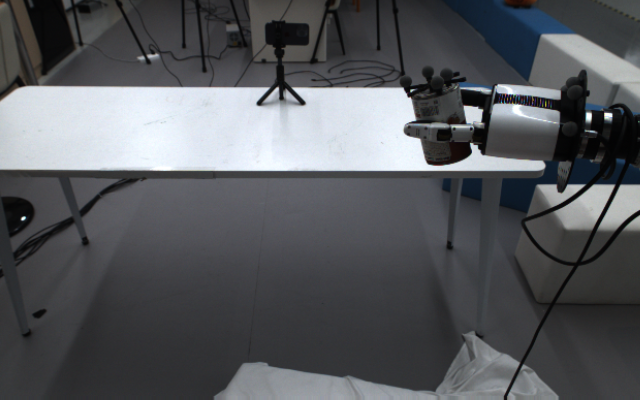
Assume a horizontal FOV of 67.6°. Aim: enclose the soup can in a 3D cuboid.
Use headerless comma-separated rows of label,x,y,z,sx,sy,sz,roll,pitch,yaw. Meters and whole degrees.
soup can,0.172,-0.109,0.682,0.067,0.101,0.067,-16,23,7
